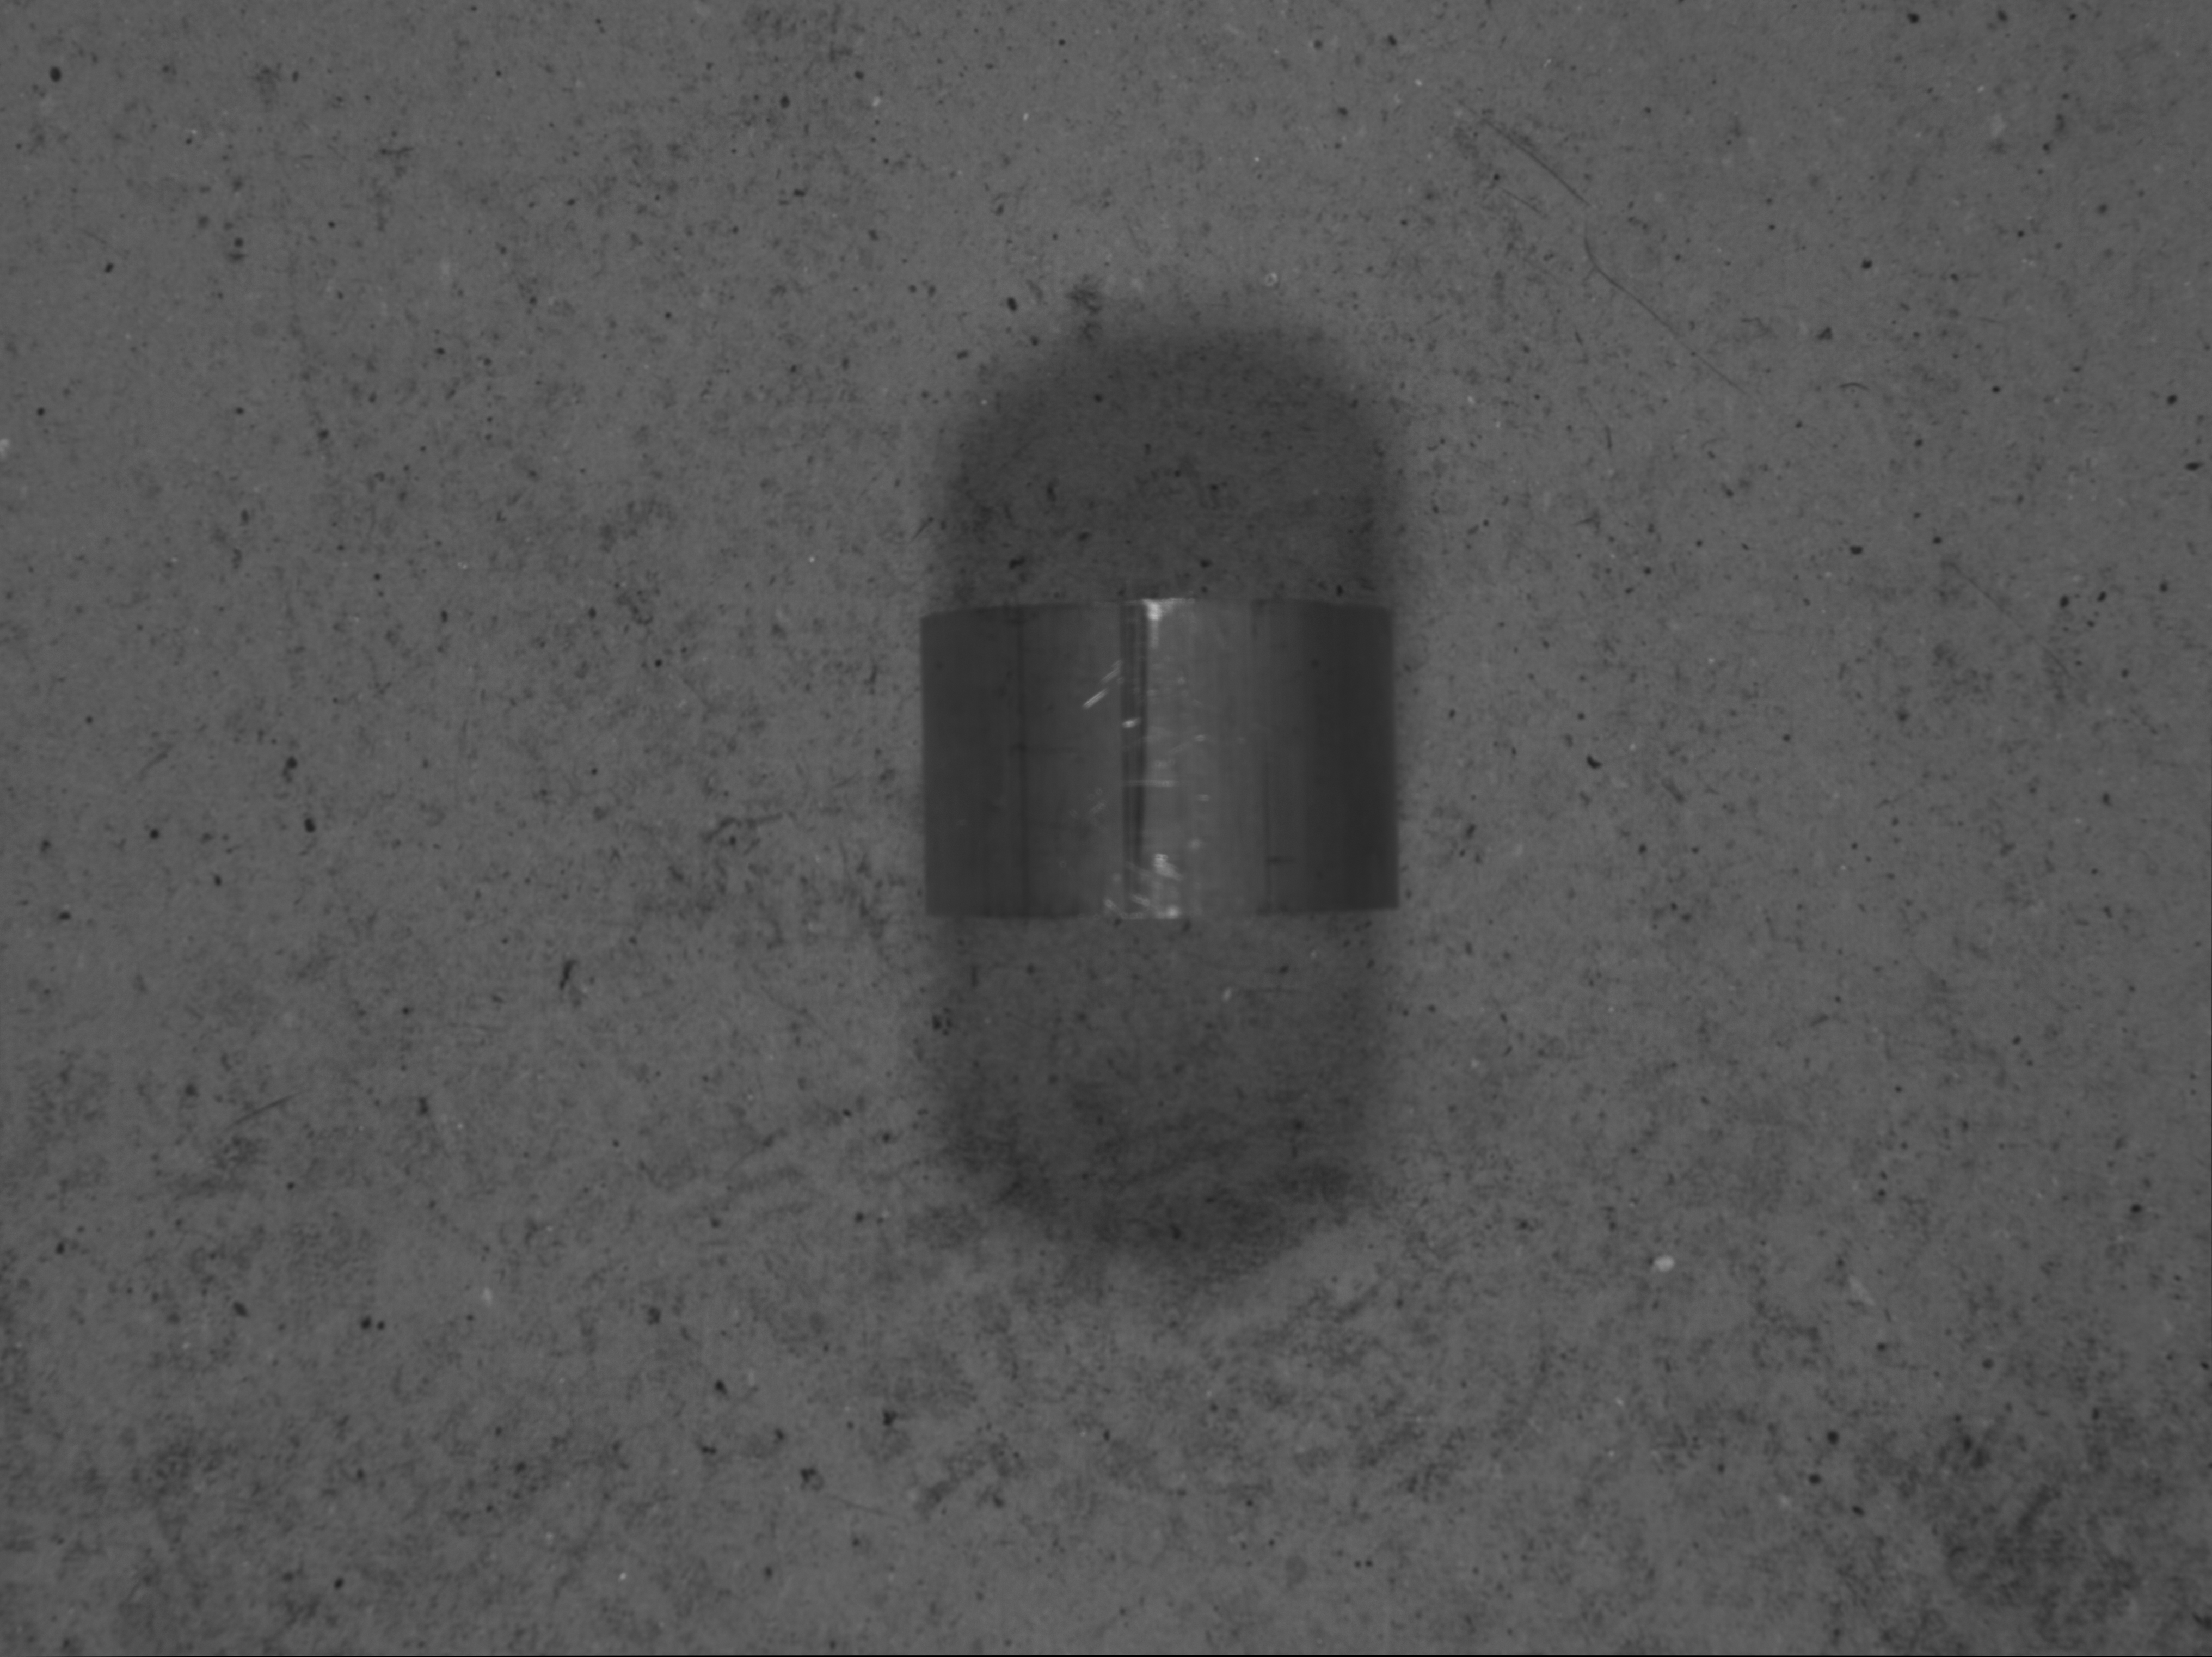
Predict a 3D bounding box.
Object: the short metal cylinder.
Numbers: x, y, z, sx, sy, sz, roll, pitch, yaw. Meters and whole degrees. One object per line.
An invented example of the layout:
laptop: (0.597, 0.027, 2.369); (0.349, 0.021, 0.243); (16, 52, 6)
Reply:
short metal cylinder: (0.010, -0.011, 0.618); (0.080, 0.080, 0.050); (-1, 90, 0)
